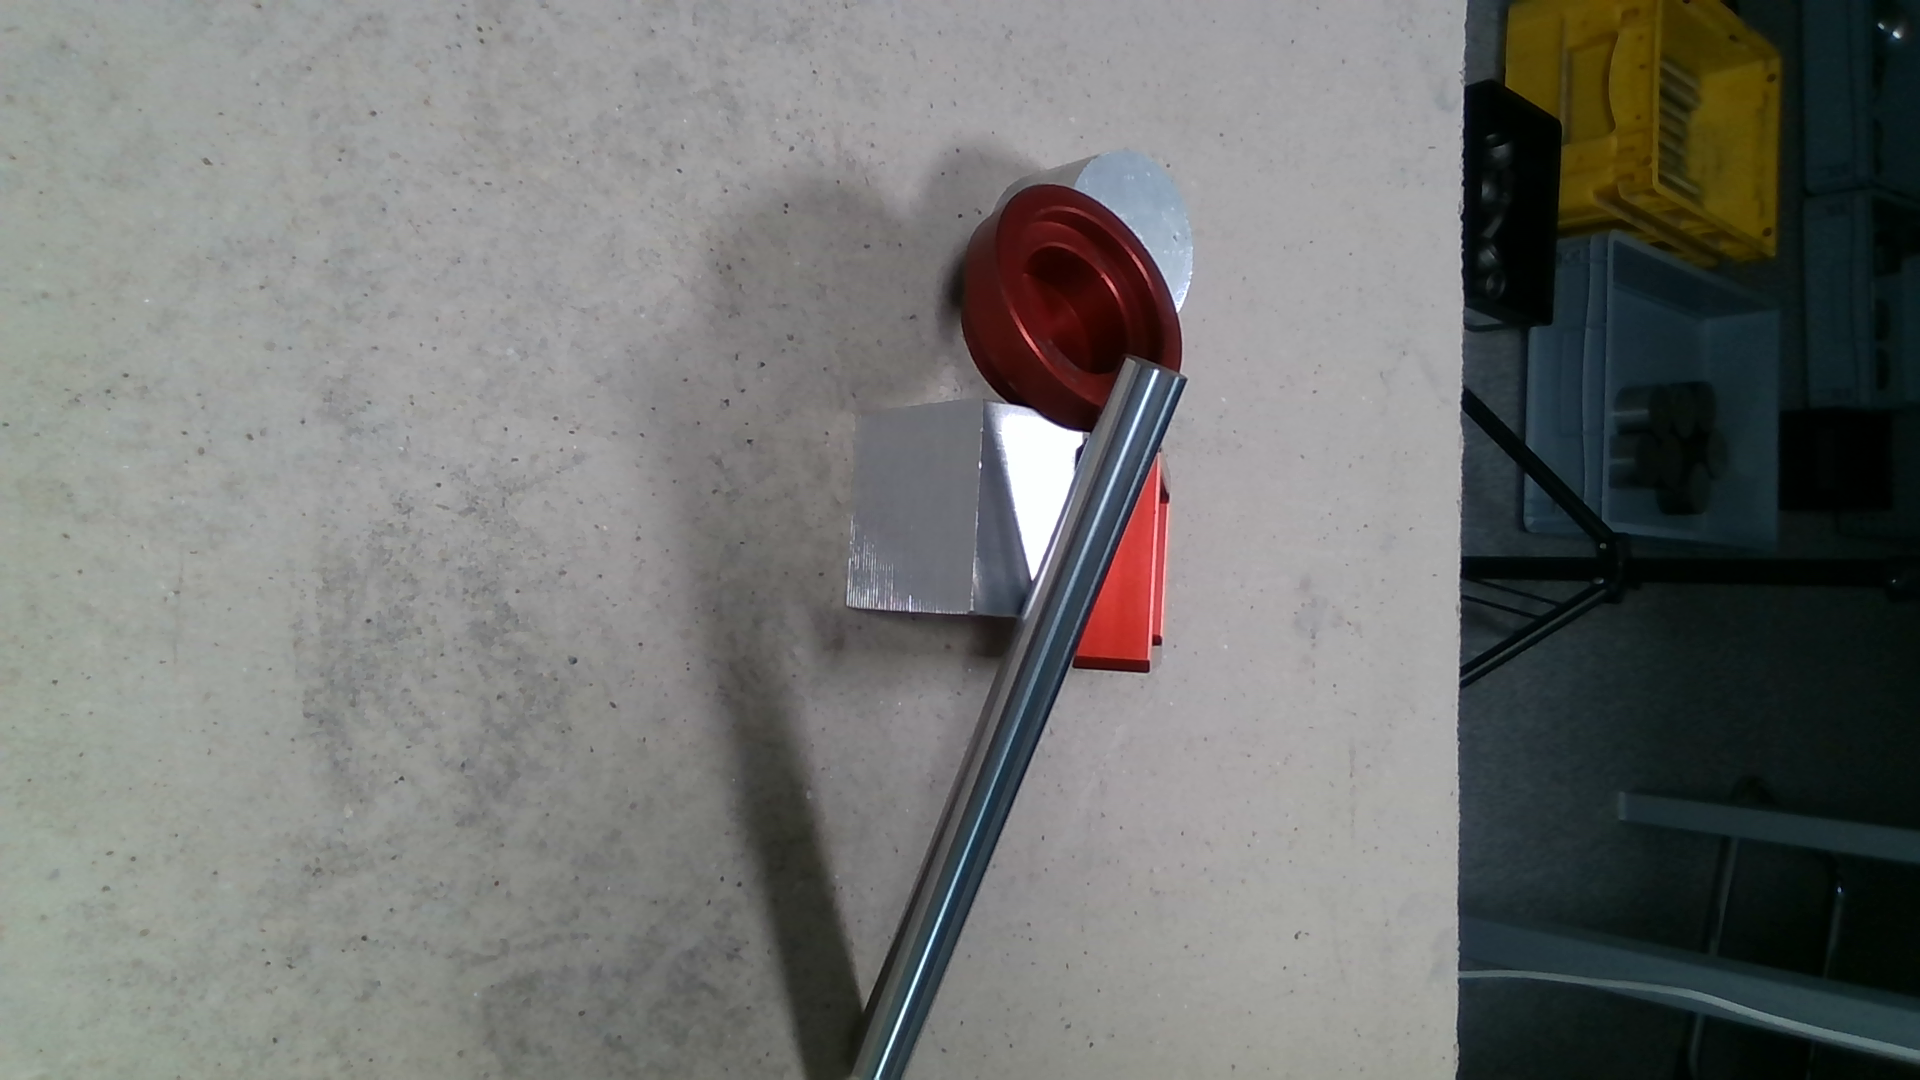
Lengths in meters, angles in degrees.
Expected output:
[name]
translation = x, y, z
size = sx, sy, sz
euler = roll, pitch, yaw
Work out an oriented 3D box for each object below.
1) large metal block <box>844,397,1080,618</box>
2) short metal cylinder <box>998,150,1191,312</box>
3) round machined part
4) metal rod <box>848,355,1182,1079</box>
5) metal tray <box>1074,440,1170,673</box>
[large metal block]
translation = 0.000, -0.010, 0.547
size = 0.050, 0.080, 0.080
euler = 6, 86, -40
[short metal cylinder]
translation = 0.058, -0.128, 0.616
size = 0.080, 0.050, 0.080
euler = 0, 90, -40
[round machined part]
translation = 0.039, -0.088, 0.547
size = 0.098, 0.042, 0.098
euler = 19, 58, -34
[metal rod]
translation = 0.017, 0.076, 0.520
size = 0.025, 0.025, 0.300
euler = 8, 109, -40
[metal tray]
translation = 0.072, 0.009, 0.591
size = 0.130, 0.030, 0.090
euler = 20, 73, -79
